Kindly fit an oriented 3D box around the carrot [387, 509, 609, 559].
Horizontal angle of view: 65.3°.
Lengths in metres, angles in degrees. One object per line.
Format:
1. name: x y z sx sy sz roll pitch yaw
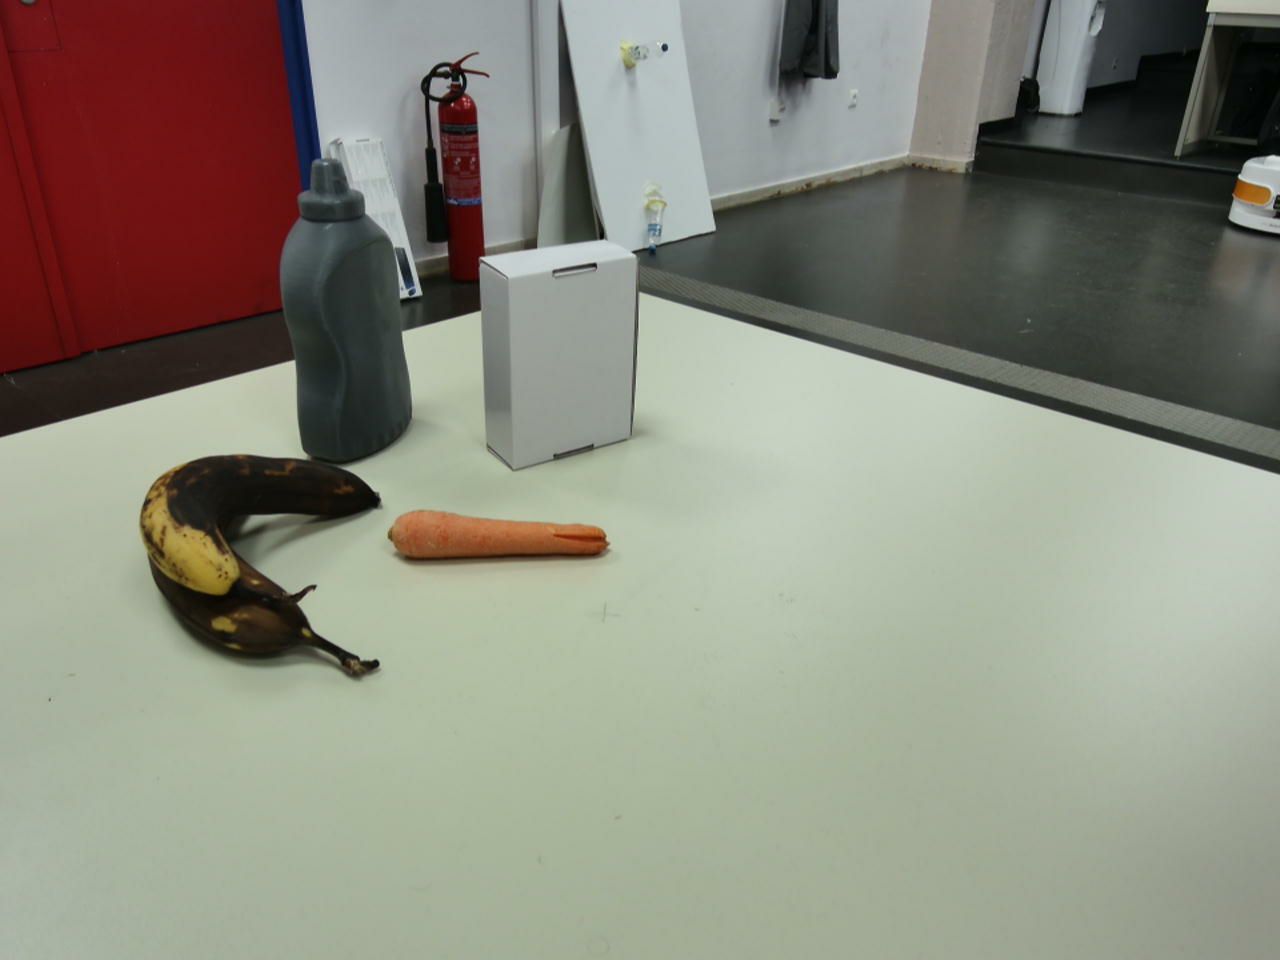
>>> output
1. carrot: -0.088 0.033 0.622 0.136 0.032 0.030 0 25 -2
